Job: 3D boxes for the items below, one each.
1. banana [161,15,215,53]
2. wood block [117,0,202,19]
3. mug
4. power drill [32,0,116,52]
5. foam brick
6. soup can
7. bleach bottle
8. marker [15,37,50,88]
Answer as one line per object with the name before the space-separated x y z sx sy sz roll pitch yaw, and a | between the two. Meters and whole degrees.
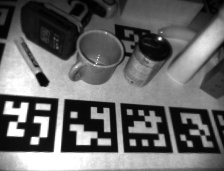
banana | 0.205 -0.155 0.598 0.198 0.038 0.074 18 71 -11
wood block | 0.125 -0.248 0.597 0.208 0.091 0.089 2 62 -17
mug | -0.037 -0.058 0.437 0.093 0.081 0.118 42 60 5
power drill | -0.099 -0.180 0.507 0.185 0.057 0.187 30 55 -4
foam brick | 0.262 -0.029 0.528 0.052 0.078 0.051 31 55 4
soup can | 0.070 -0.064 0.459 0.068 0.102 0.067 10 55 -13
bleach bottle | 0.206 -0.116 0.453 0.068 0.250 0.103 28 56 1
marker | -0.157 -0.046 0.431 0.020 0.019 0.120 -27 74 -26
